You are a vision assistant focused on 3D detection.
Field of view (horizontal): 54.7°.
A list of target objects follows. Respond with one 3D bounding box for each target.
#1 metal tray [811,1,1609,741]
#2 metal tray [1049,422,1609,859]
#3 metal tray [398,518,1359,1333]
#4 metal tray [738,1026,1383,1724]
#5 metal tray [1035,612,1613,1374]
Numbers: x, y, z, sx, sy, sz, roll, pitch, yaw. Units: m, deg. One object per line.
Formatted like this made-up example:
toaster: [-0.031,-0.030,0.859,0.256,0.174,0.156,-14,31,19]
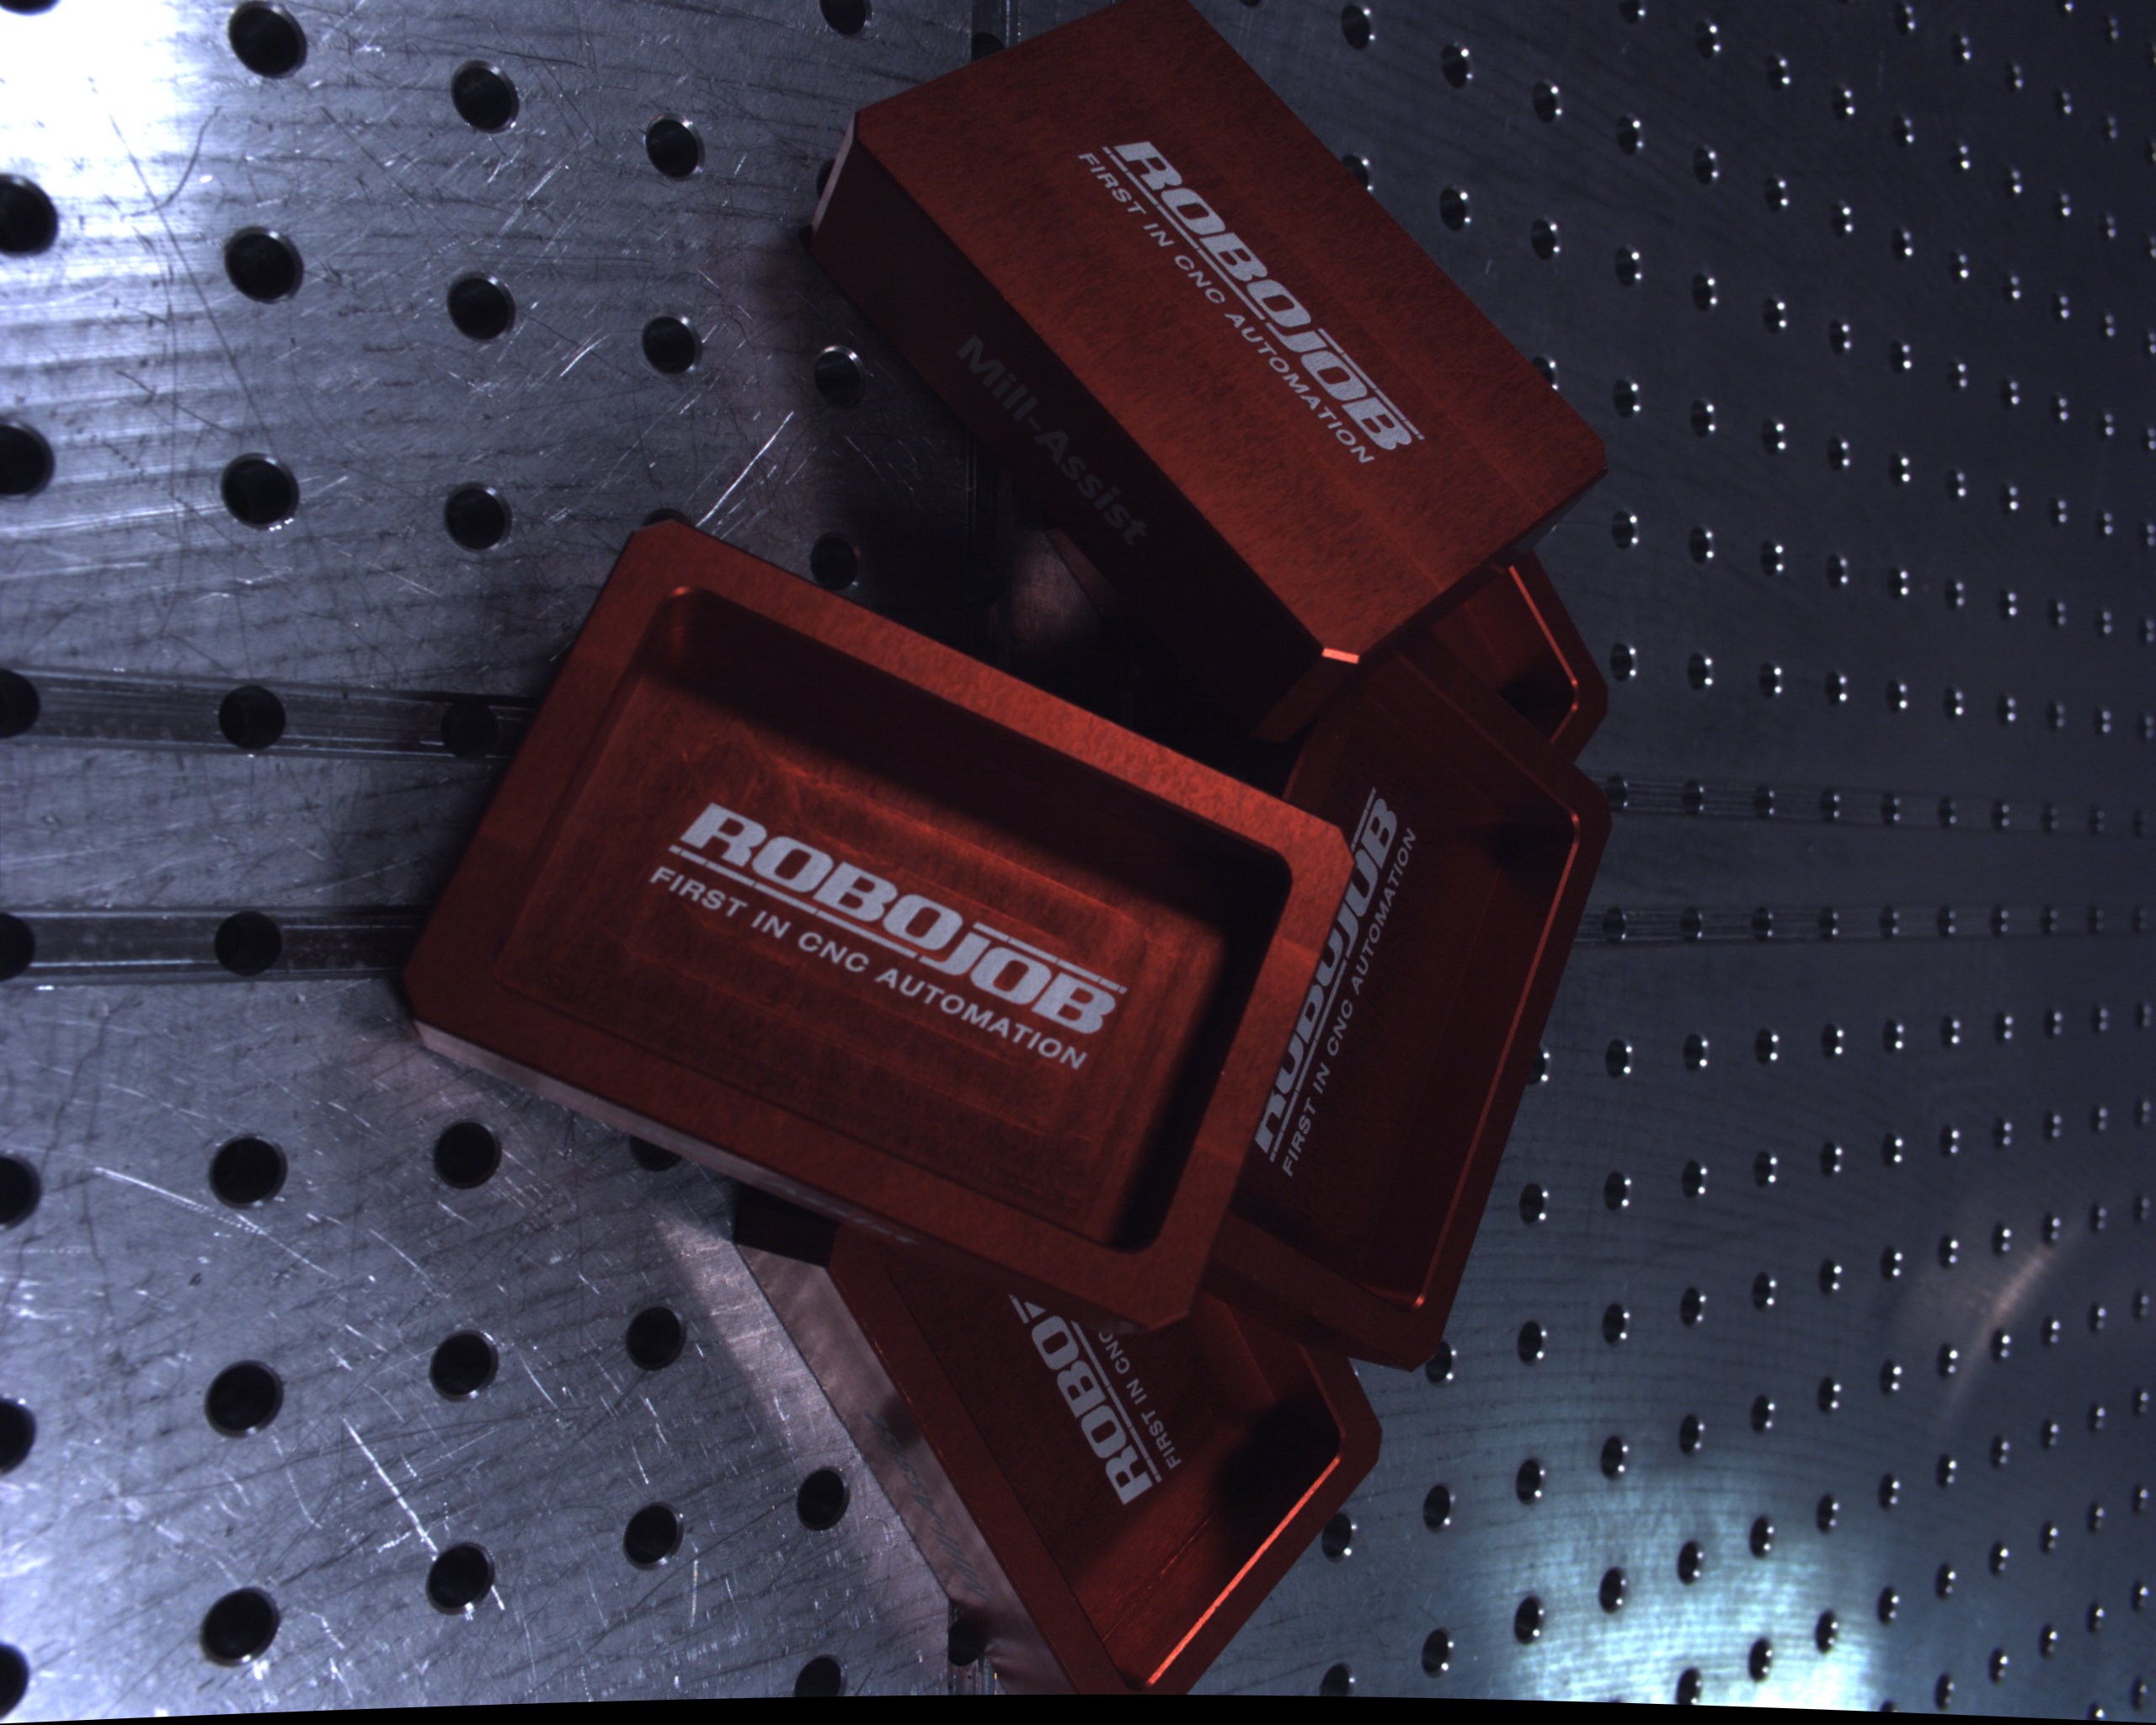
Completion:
metal tray: [0.026,-0.096,0.390,0.130,0.030,0.091,49,56,5]
metal tray: [0.060,-0.054,0.458,0.090,0.030,0.130,-51,120,-28]
metal tray: [-0.030,0.012,0.342,0.131,0.030,0.090,24,72,-6]
metal tray: [0.002,0.095,0.409,0.091,0.030,0.129,-40,115,-33]
metal tray: [0.053,0.024,0.413,0.090,0.030,0.130,36,68,-35]
